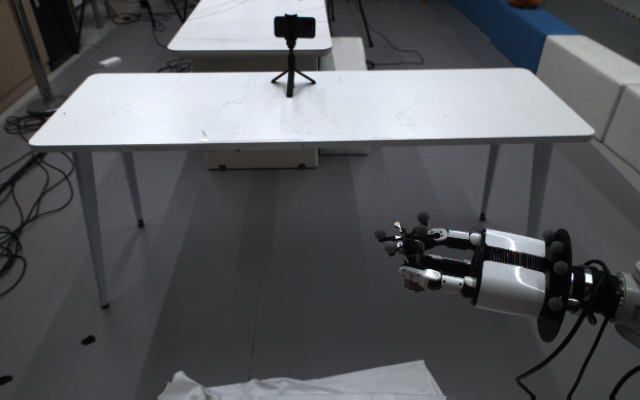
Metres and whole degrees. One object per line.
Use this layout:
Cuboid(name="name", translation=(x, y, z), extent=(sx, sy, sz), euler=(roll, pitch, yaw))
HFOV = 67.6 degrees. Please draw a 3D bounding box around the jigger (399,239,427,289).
Cuboid(name="jigger", translation=(0.141, 0.096, 0.722), extent=(0.043, 0.071, 0.043), euler=(-12, 29, 7))
